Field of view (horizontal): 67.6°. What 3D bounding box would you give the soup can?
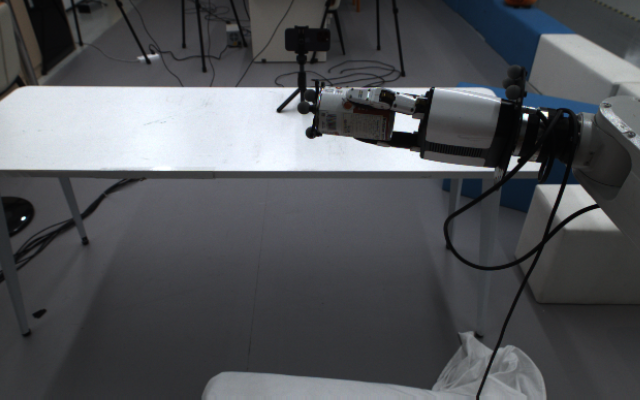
[{"bbox_3d":[0.052,-0.120,0.668,0.101,0.067,0.067,7,35,10],"label":"soup can"}]
